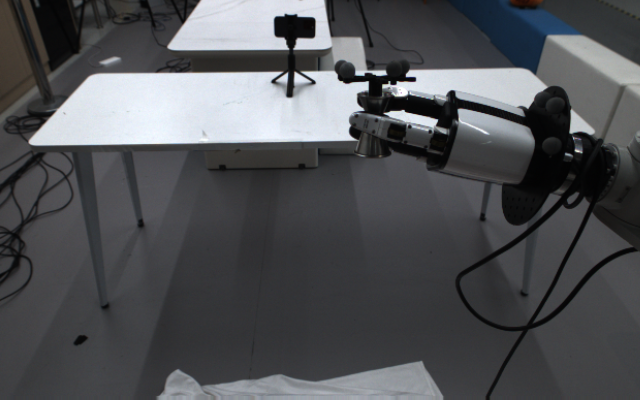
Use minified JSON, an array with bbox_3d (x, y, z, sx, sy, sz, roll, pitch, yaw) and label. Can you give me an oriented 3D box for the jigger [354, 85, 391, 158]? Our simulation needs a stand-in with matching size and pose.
[{"bbox_3d":[0.060,-0.086,0.552,0.043,0.071,0.043,0,21,0],"label":"jigger"}]
